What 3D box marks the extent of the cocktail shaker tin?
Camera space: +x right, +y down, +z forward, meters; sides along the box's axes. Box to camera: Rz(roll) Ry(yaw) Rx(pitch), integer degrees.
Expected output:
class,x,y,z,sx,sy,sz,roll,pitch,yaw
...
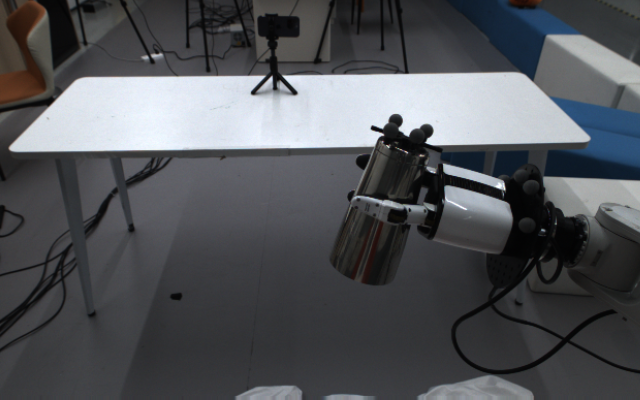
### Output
class,x,y,z,sx,sy,sz,roll,pitch,yaw
cocktail shaker tin,0.080,0.010,0.611,0.093,0.170,0.093,14,22,-6
